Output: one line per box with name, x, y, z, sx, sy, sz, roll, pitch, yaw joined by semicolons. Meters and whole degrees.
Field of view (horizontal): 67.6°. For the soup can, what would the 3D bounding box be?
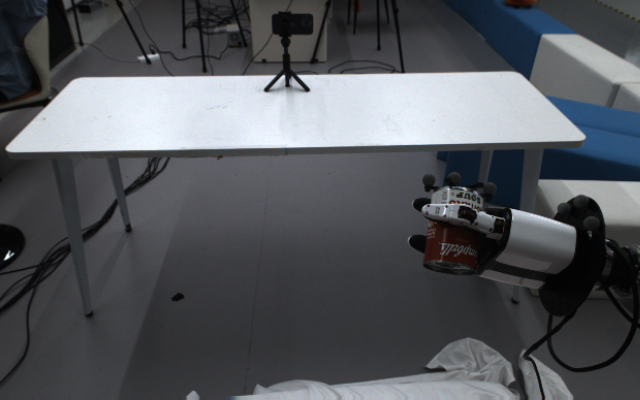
soup can;0.175;0.040;0.629;0.067;0.067;0.101;8;72;9
